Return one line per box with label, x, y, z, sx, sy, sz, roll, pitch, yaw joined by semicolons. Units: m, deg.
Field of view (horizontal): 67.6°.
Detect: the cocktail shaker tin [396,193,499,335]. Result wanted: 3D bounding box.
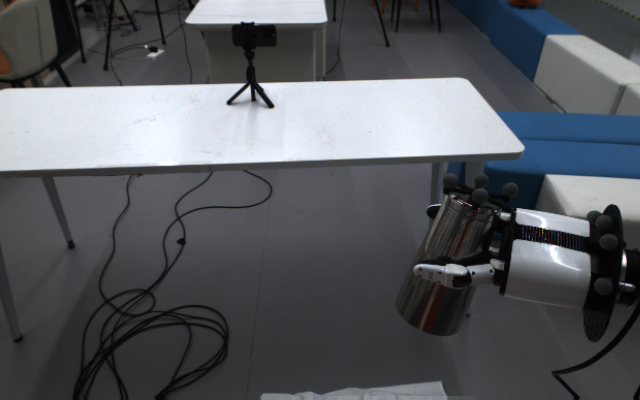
cocktail shaker tin;0.167;0.072;0.610;0.093;0.170;0.093;11;24;-5
